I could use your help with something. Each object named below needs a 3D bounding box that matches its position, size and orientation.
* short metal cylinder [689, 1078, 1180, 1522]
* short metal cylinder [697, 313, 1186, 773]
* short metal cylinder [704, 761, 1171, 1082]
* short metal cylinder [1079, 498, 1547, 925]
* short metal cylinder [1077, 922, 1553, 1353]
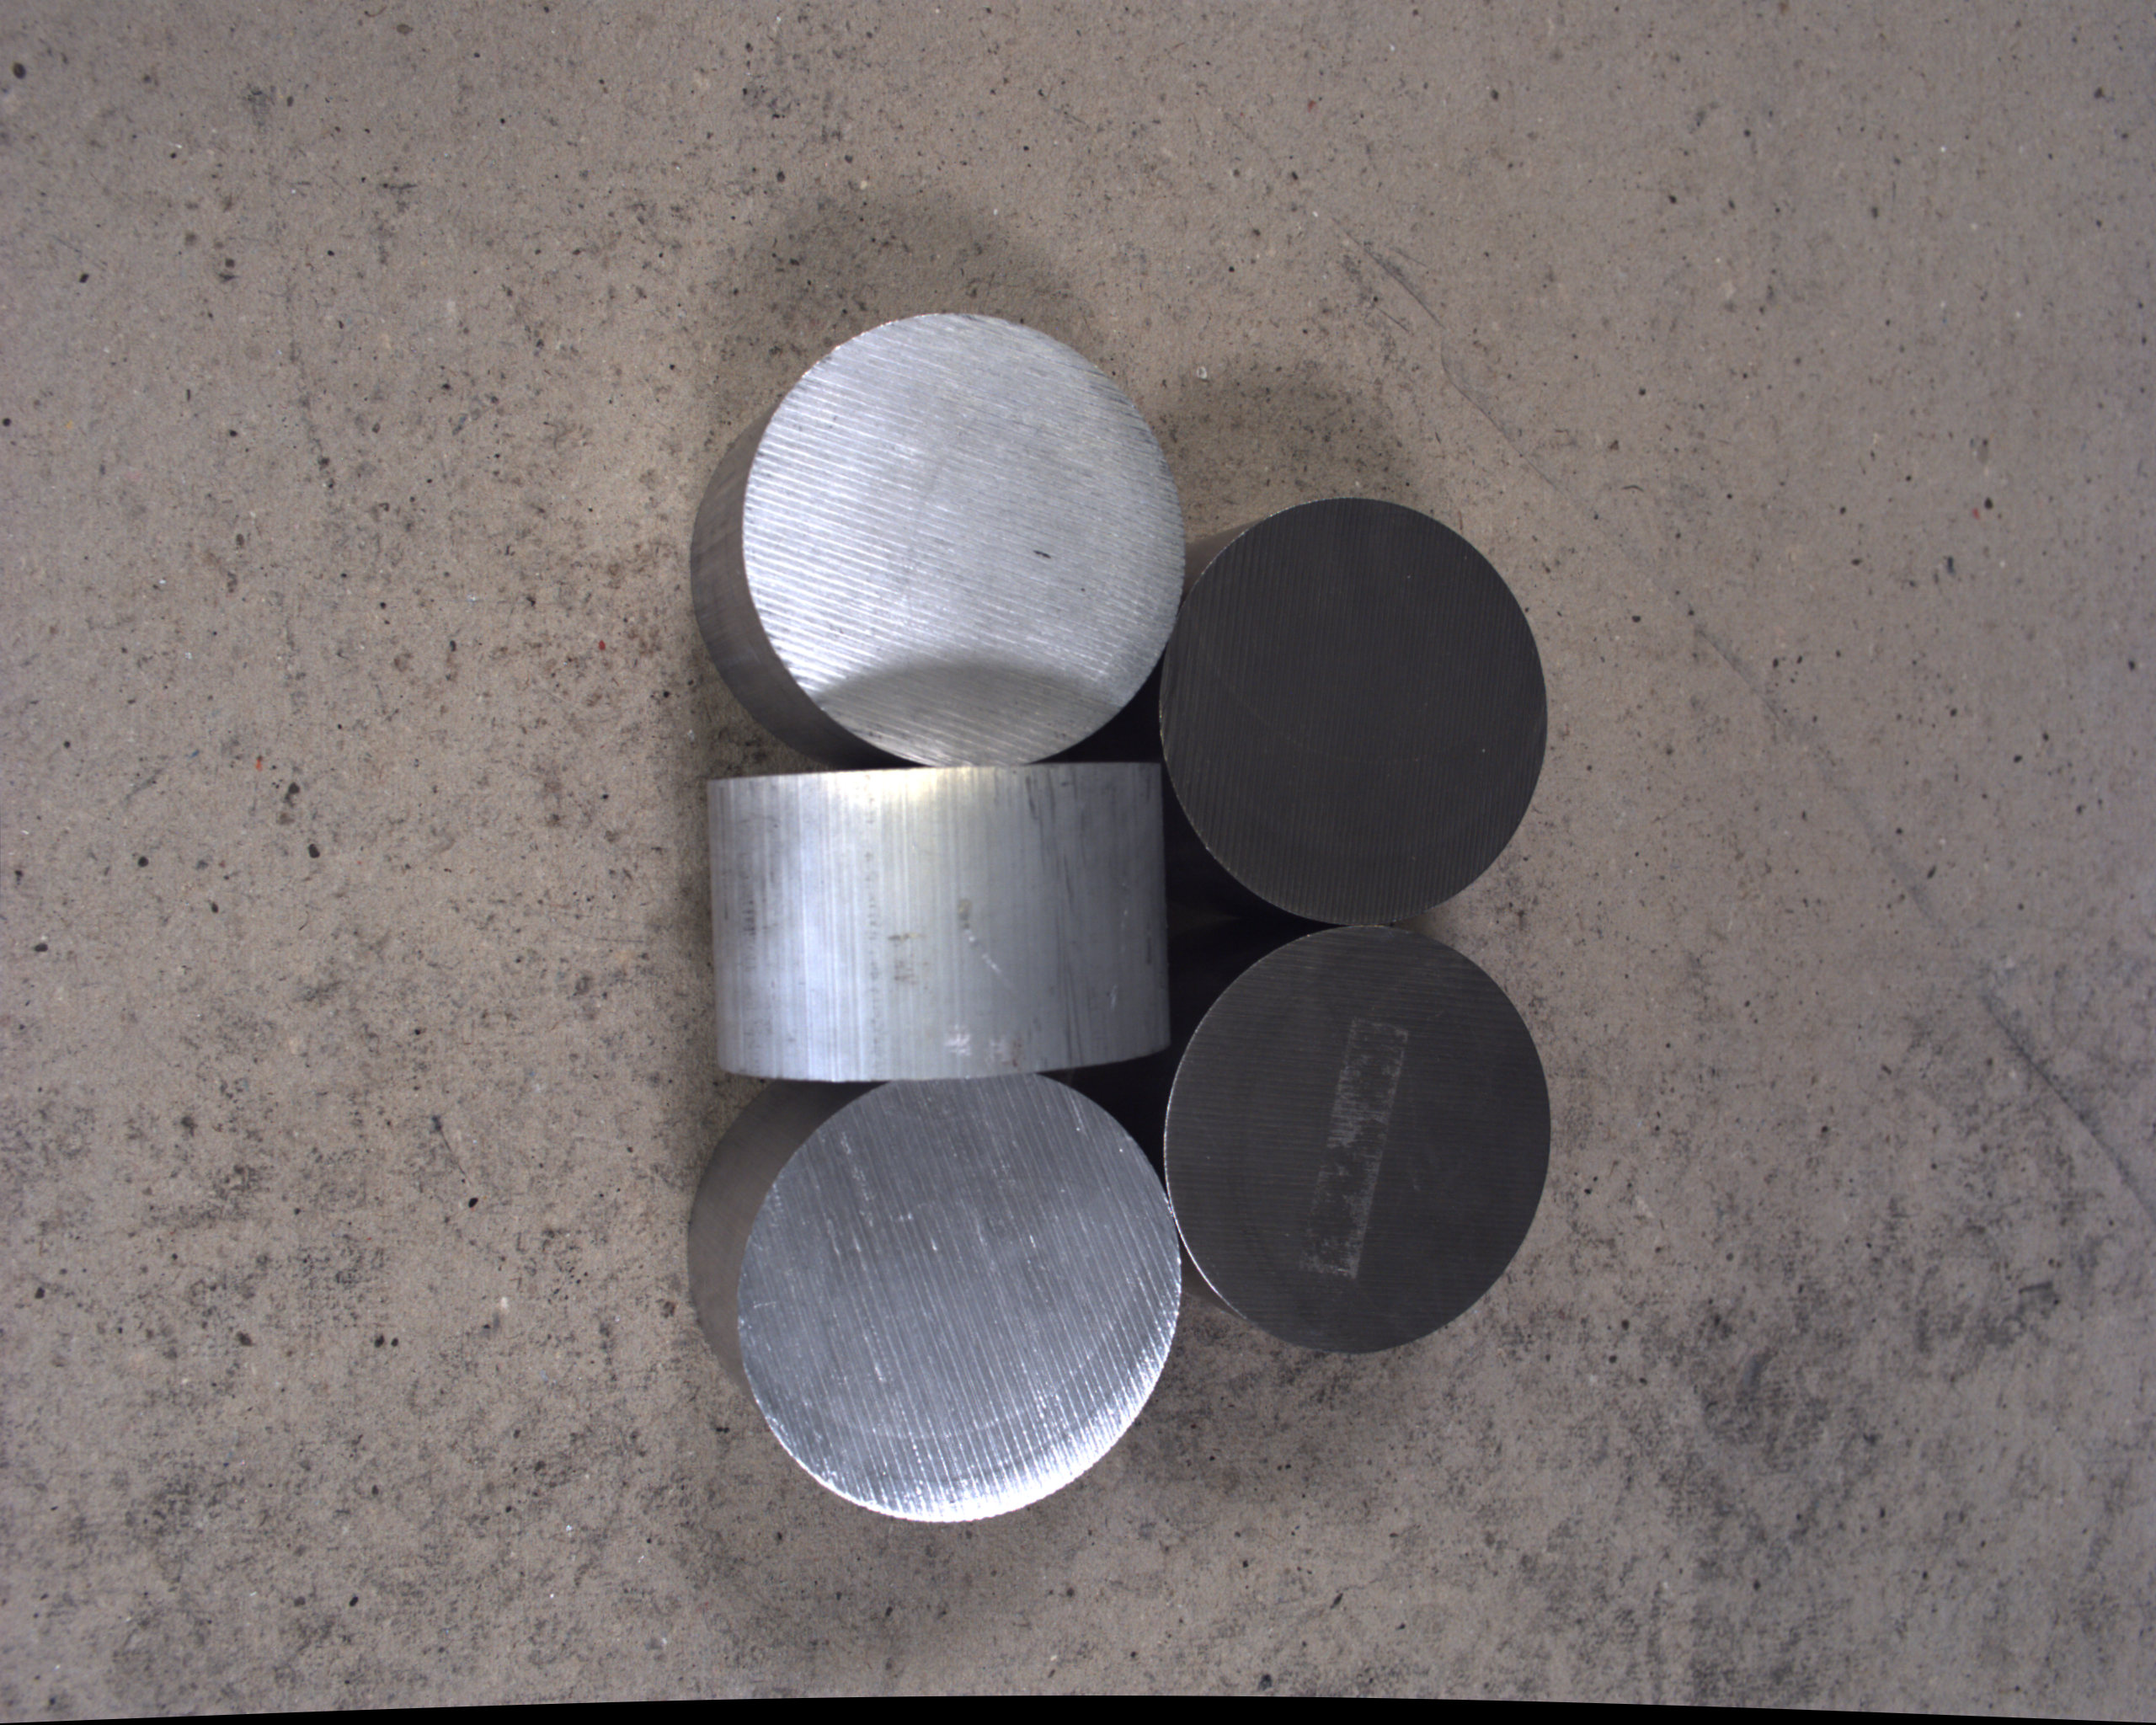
[{"bbox_3d":[-0.028,0.075,0.387,0.081,0.050,0.080,0,90,-19],"label":"short metal cylinder"},{"bbox_3d":[-0.027,-0.056,0.387,0.081,0.050,0.080,0,90,-19],"label":"short metal cylinder"},{"bbox_3d":[-0.025,0.009,0.372,0.081,0.080,0.050,-3,92,-20],"label":"short metal cylinder"},{"bbox_3d":[0.044,-0.029,0.412,0.081,0.050,0.080,0,91,-20],"label":"short metal cylinder"},{"bbox_3d":[0.045,0.051,0.413,0.081,0.050,0.080,0,91,-19],"label":"short metal cylinder"}]
